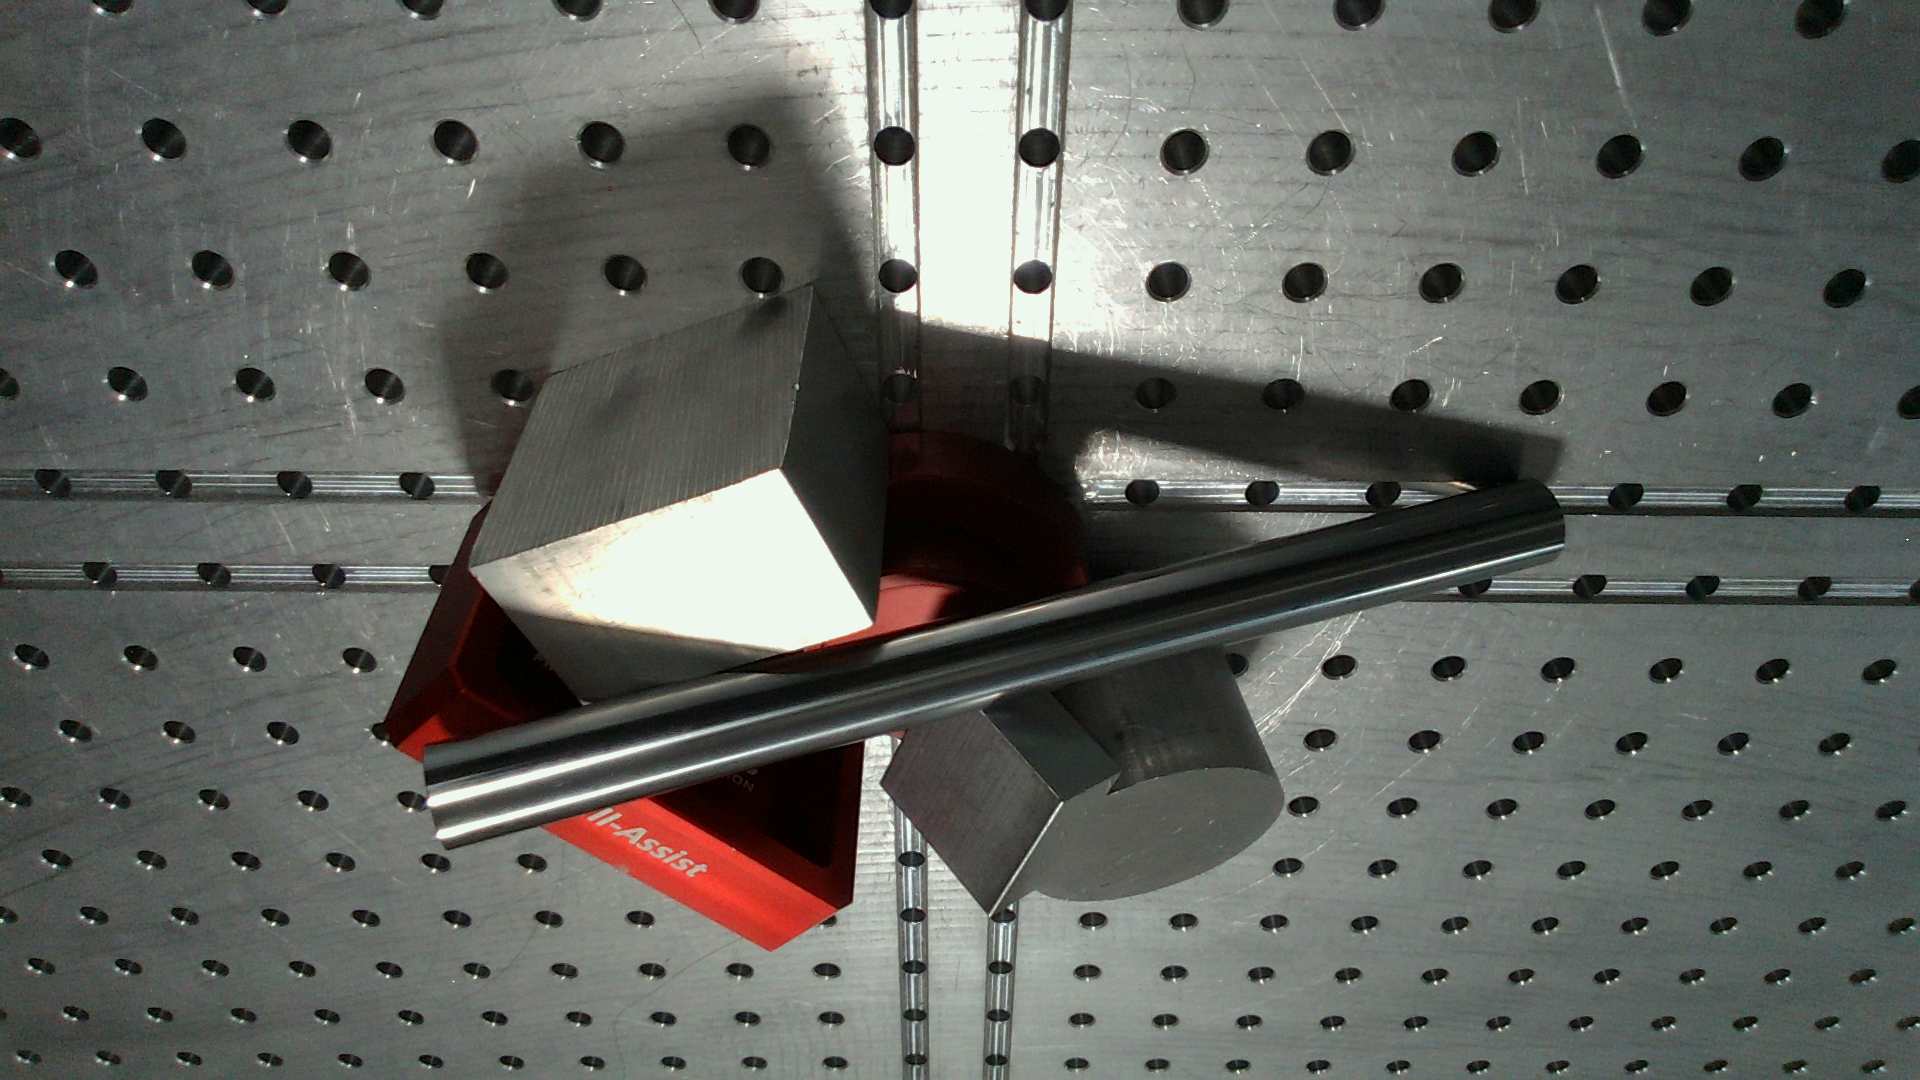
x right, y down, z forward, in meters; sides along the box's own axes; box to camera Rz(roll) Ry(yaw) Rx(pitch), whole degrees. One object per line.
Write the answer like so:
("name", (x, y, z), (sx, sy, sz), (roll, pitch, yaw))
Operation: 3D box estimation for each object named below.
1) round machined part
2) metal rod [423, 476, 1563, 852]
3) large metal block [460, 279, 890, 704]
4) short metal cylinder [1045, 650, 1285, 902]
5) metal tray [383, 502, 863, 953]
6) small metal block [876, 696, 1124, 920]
("round machined part", (-0.011, 0.018, 0.401), (0.098, 0.042, 0.098), (0, 130, 0))
("metal rod", (0.022, 0.027, 0.354), (0.301, 0.025, 0.025), (-13, 132, -15))
("large metal block", (-0.066, -0.012, 0.345), (0.080, 0.080, 0.050), (-17, 128, 14))
("short metal cylinder", (0.052, 0.069, 0.420), (0.080, 0.050, 0.080), (-12, 144, -9))
("metal tray", (-0.085, 0.047, 0.390), (0.030, 0.090, 0.130), (-36, 122, 26))
("small metal block", (0.009, 0.065, 0.375), (0.025, 0.050, 0.050), (-17, 144, -44))
